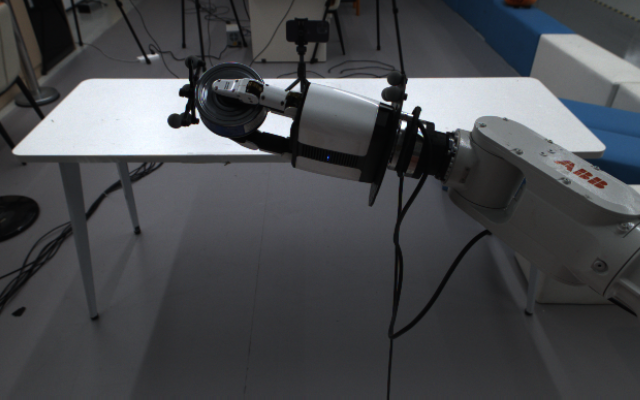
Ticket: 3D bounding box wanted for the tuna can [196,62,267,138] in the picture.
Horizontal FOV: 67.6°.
[{"bbox_3d":[-0.104,-0.121,0.581,0.085,0.034,0.085,1,74,-5],"label":"tuna can"}]
